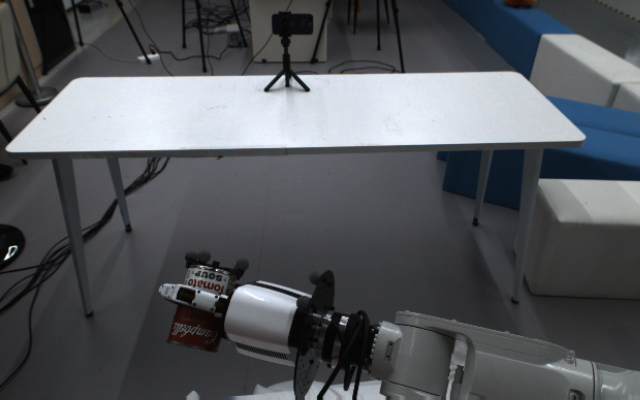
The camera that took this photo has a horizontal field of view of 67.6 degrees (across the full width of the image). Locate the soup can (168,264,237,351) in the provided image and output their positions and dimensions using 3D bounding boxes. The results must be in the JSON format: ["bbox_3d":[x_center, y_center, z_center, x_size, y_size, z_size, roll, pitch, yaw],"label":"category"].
[{"bbox_3d":[-0.153,0.144,0.636,0.067,0.067,0.101,9,71,9],"label":"soup can"}]
